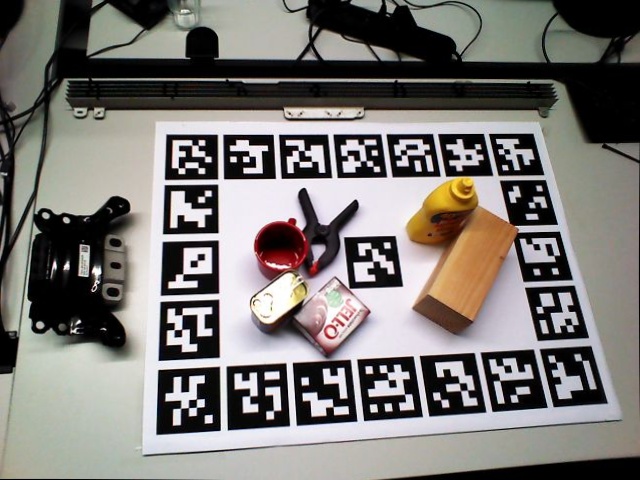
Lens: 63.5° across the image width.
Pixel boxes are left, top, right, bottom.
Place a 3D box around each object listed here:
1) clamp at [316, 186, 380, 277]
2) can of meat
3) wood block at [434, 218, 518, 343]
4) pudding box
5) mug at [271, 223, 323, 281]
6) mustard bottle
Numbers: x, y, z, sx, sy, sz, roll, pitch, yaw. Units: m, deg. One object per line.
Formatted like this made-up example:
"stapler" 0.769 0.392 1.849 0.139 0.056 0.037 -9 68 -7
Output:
"clamp" 0.036 -0.011 0.954 0.122 0.037 0.164 17 70 -2
"can of meat" -0.042 0.115 0.859 0.101 0.084 0.058 -31 77 -17
"wood block" 0.300 0.067 0.926 0.090 0.091 0.205 33 66 8
"pudding box" 0.053 0.143 0.890 0.113 0.039 0.090 -41 79 -21
"mug" -0.042 0.026 0.925 0.093 0.082 0.116 19 69 1
"mustard bottle" 0.258 -0.048 0.906 0.096 0.192 0.058 -6 70 -9
